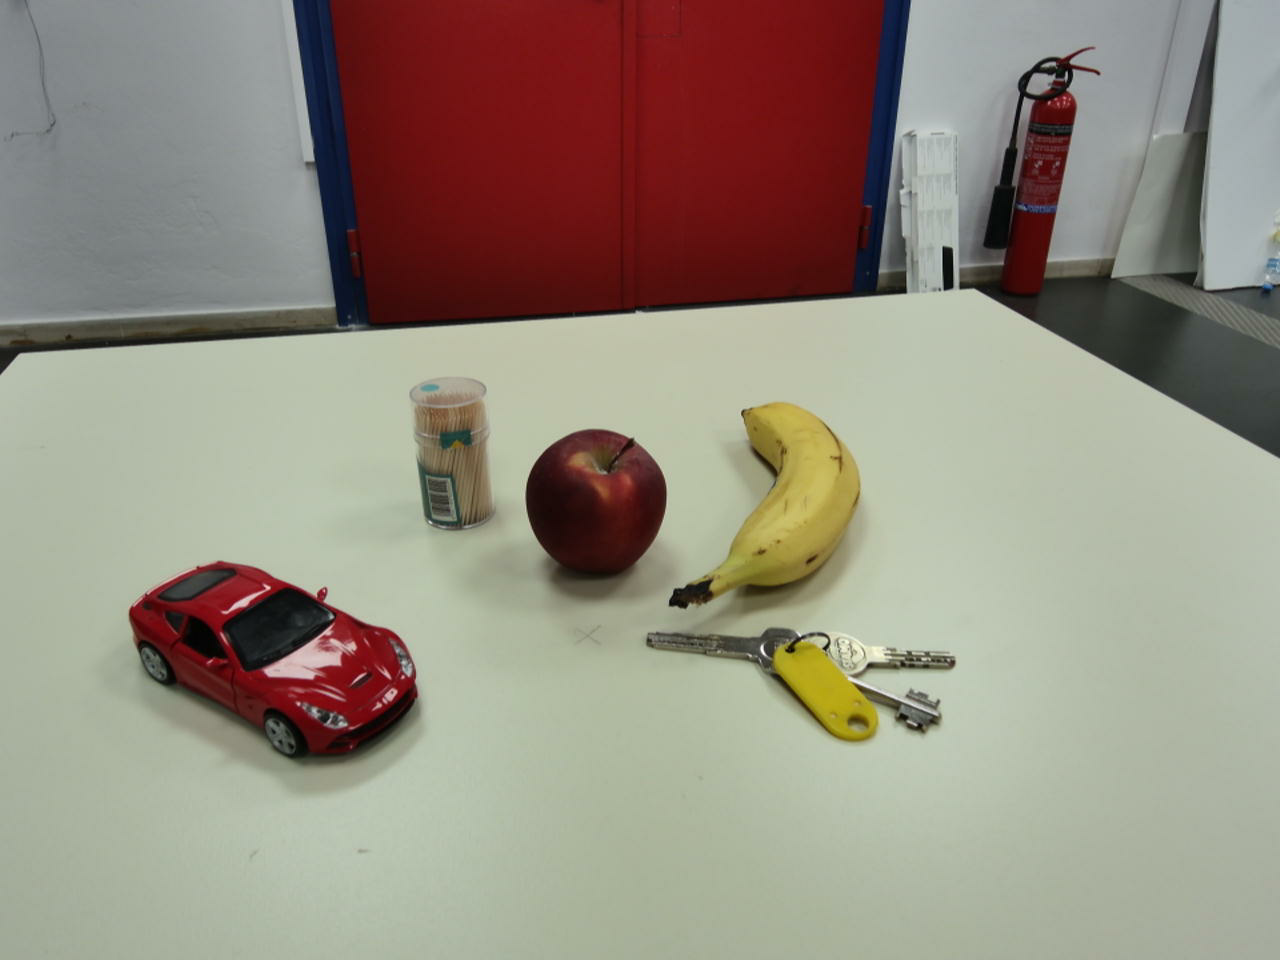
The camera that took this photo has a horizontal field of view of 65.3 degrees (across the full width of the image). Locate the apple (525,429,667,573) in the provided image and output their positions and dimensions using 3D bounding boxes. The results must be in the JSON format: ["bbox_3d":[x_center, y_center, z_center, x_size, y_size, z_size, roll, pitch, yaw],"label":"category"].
[{"bbox_3d":[-0.021,0.011,0.490,0.070,0.072,0.070,1,26,0],"label":"apple"}]
